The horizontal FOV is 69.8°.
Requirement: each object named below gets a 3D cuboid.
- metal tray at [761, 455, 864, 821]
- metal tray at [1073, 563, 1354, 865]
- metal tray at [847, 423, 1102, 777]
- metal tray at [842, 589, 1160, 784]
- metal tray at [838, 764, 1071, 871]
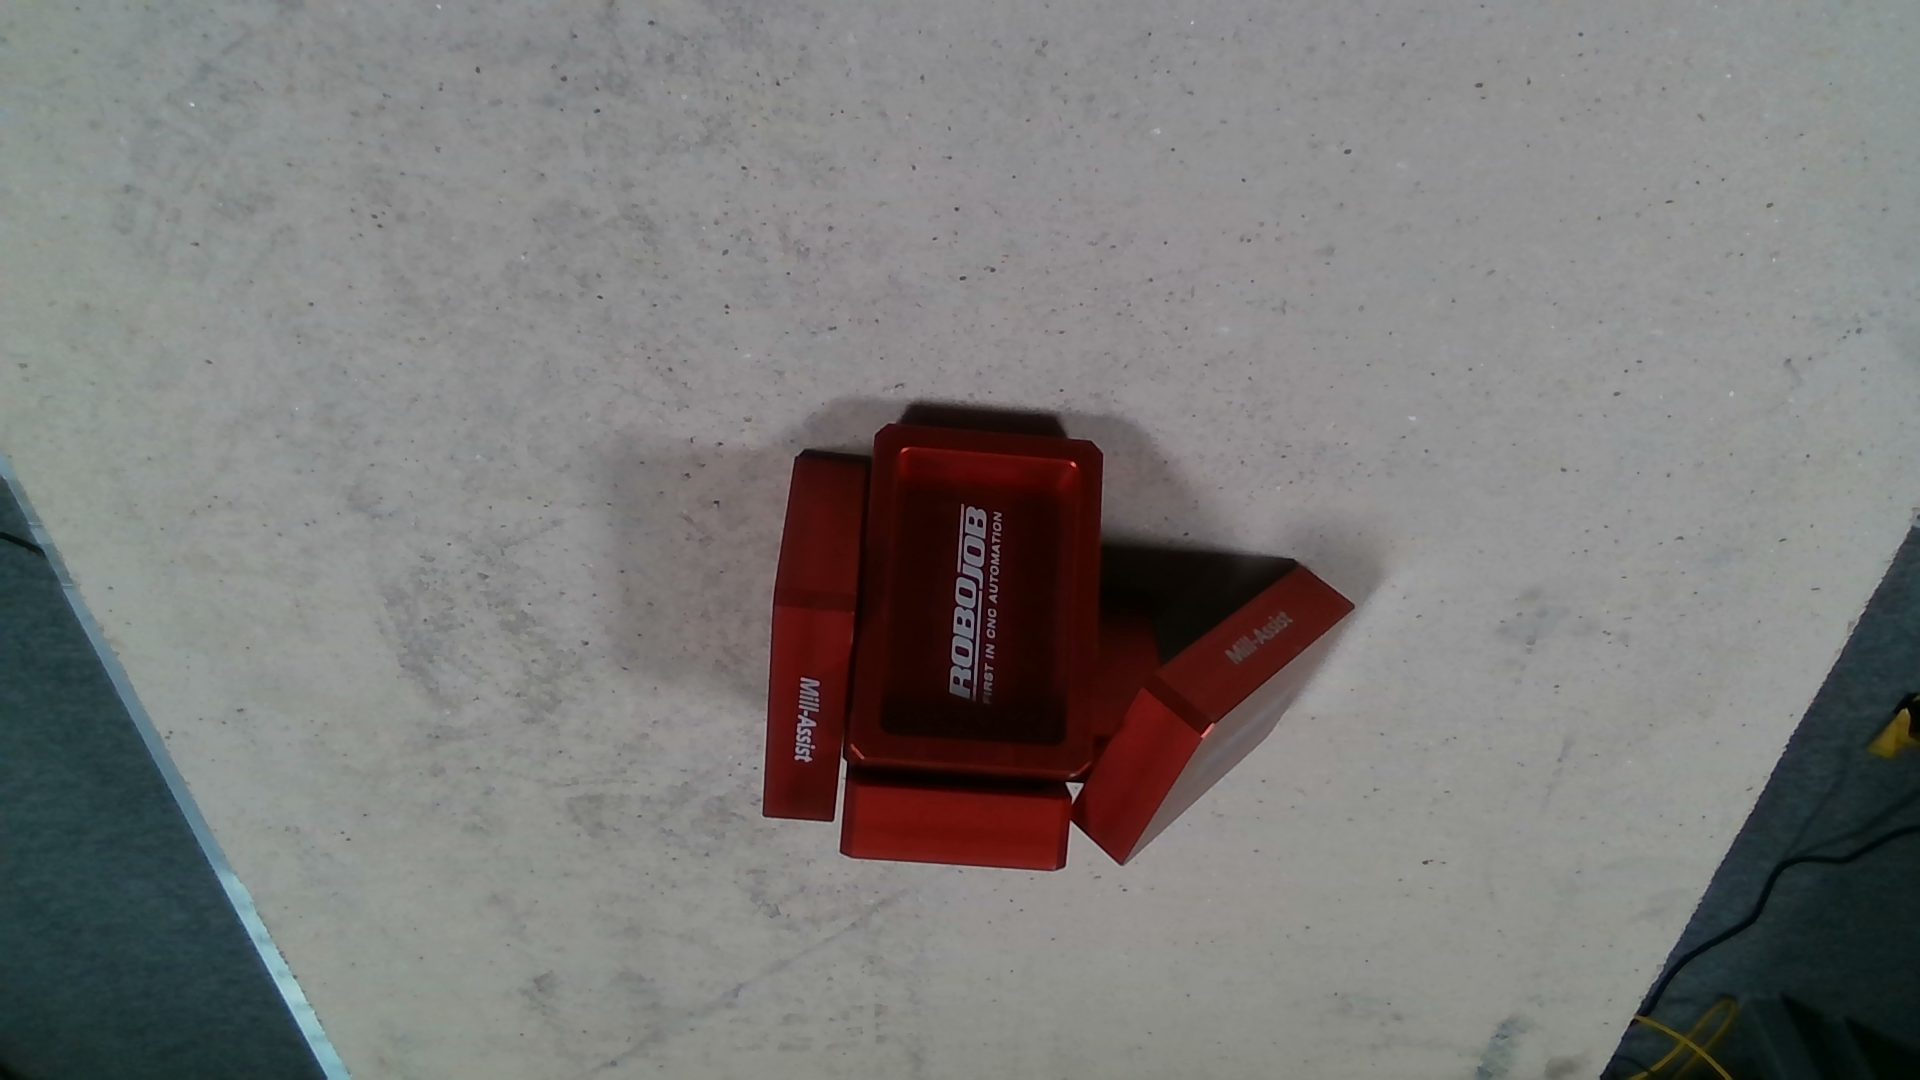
[{"bbox_3d":[-0.061,0.042,0.572,0.030,0.090,0.130,5,130,-4],"label":"metal tray"},{"bbox_3d":[0.107,0.071,0.579,0.030,0.130,0.090,40,131,21],"label":"metal tray"},{"bbox_3d":[0.006,0.024,0.536,0.090,0.130,0.030,5,166,-4],"label":"metal tray"},{"bbox_3d":[0.019,0.057,0.584,0.130,0.090,0.030,5,130,-5],"label":"metal tray"},{"bbox_3d":[-0.005,0.105,0.603,0.090,0.130,0.030,5,96,-4],"label":"metal tray"}]
